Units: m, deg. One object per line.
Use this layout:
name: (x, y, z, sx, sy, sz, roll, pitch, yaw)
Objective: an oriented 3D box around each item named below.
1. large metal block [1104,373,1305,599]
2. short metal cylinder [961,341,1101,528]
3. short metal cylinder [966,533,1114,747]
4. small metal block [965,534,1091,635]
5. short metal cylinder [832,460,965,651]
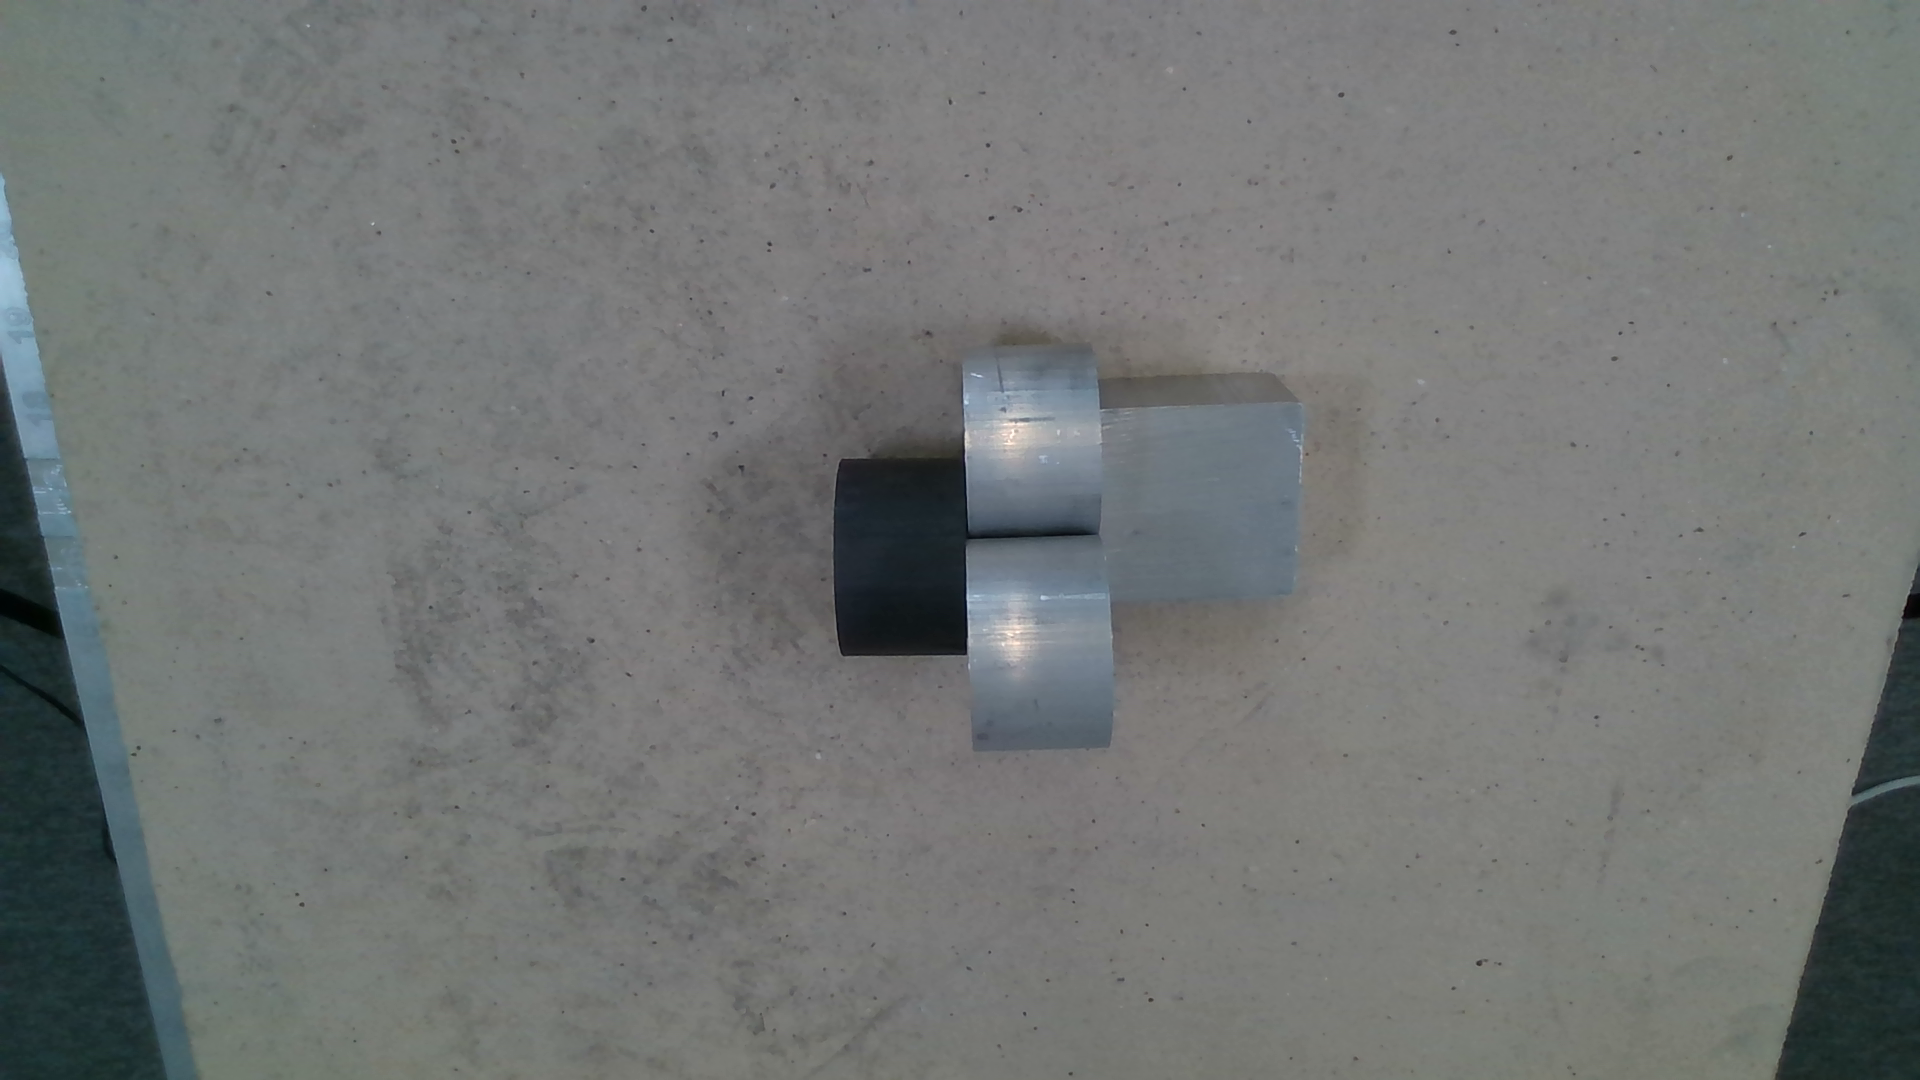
large metal block: (0.093, -0.023, 0.564, 0.080, 0.050, 0.080, -2, 110, 1)
short metal cylinder: (0.027, -0.037, 0.543, 0.050, 0.080, 0.080, -2, 110, 1)
short metal cylinder: (0.029, 0.037, 0.517, 0.050, 0.080, 0.080, -2, 110, 1)
small metal block: (0.027, 0.018, 0.581, 0.050, 0.050, 0.025, 1, 110, 0)
short metal cylinder: (-0.023, 0.006, 0.559, 0.050, 0.080, 0.080, 0, 110, 0)
